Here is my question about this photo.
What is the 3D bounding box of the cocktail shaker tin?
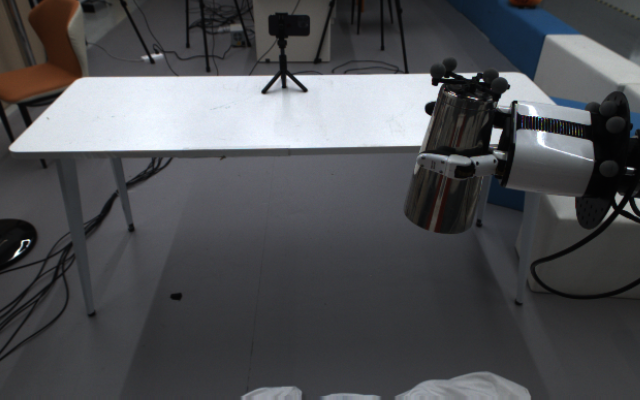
[{"bbox_3d":[0.164,-0.055,0.599,0.093,0.170,0.093,4,32,-2],"label":"cocktail shaker tin"}]
